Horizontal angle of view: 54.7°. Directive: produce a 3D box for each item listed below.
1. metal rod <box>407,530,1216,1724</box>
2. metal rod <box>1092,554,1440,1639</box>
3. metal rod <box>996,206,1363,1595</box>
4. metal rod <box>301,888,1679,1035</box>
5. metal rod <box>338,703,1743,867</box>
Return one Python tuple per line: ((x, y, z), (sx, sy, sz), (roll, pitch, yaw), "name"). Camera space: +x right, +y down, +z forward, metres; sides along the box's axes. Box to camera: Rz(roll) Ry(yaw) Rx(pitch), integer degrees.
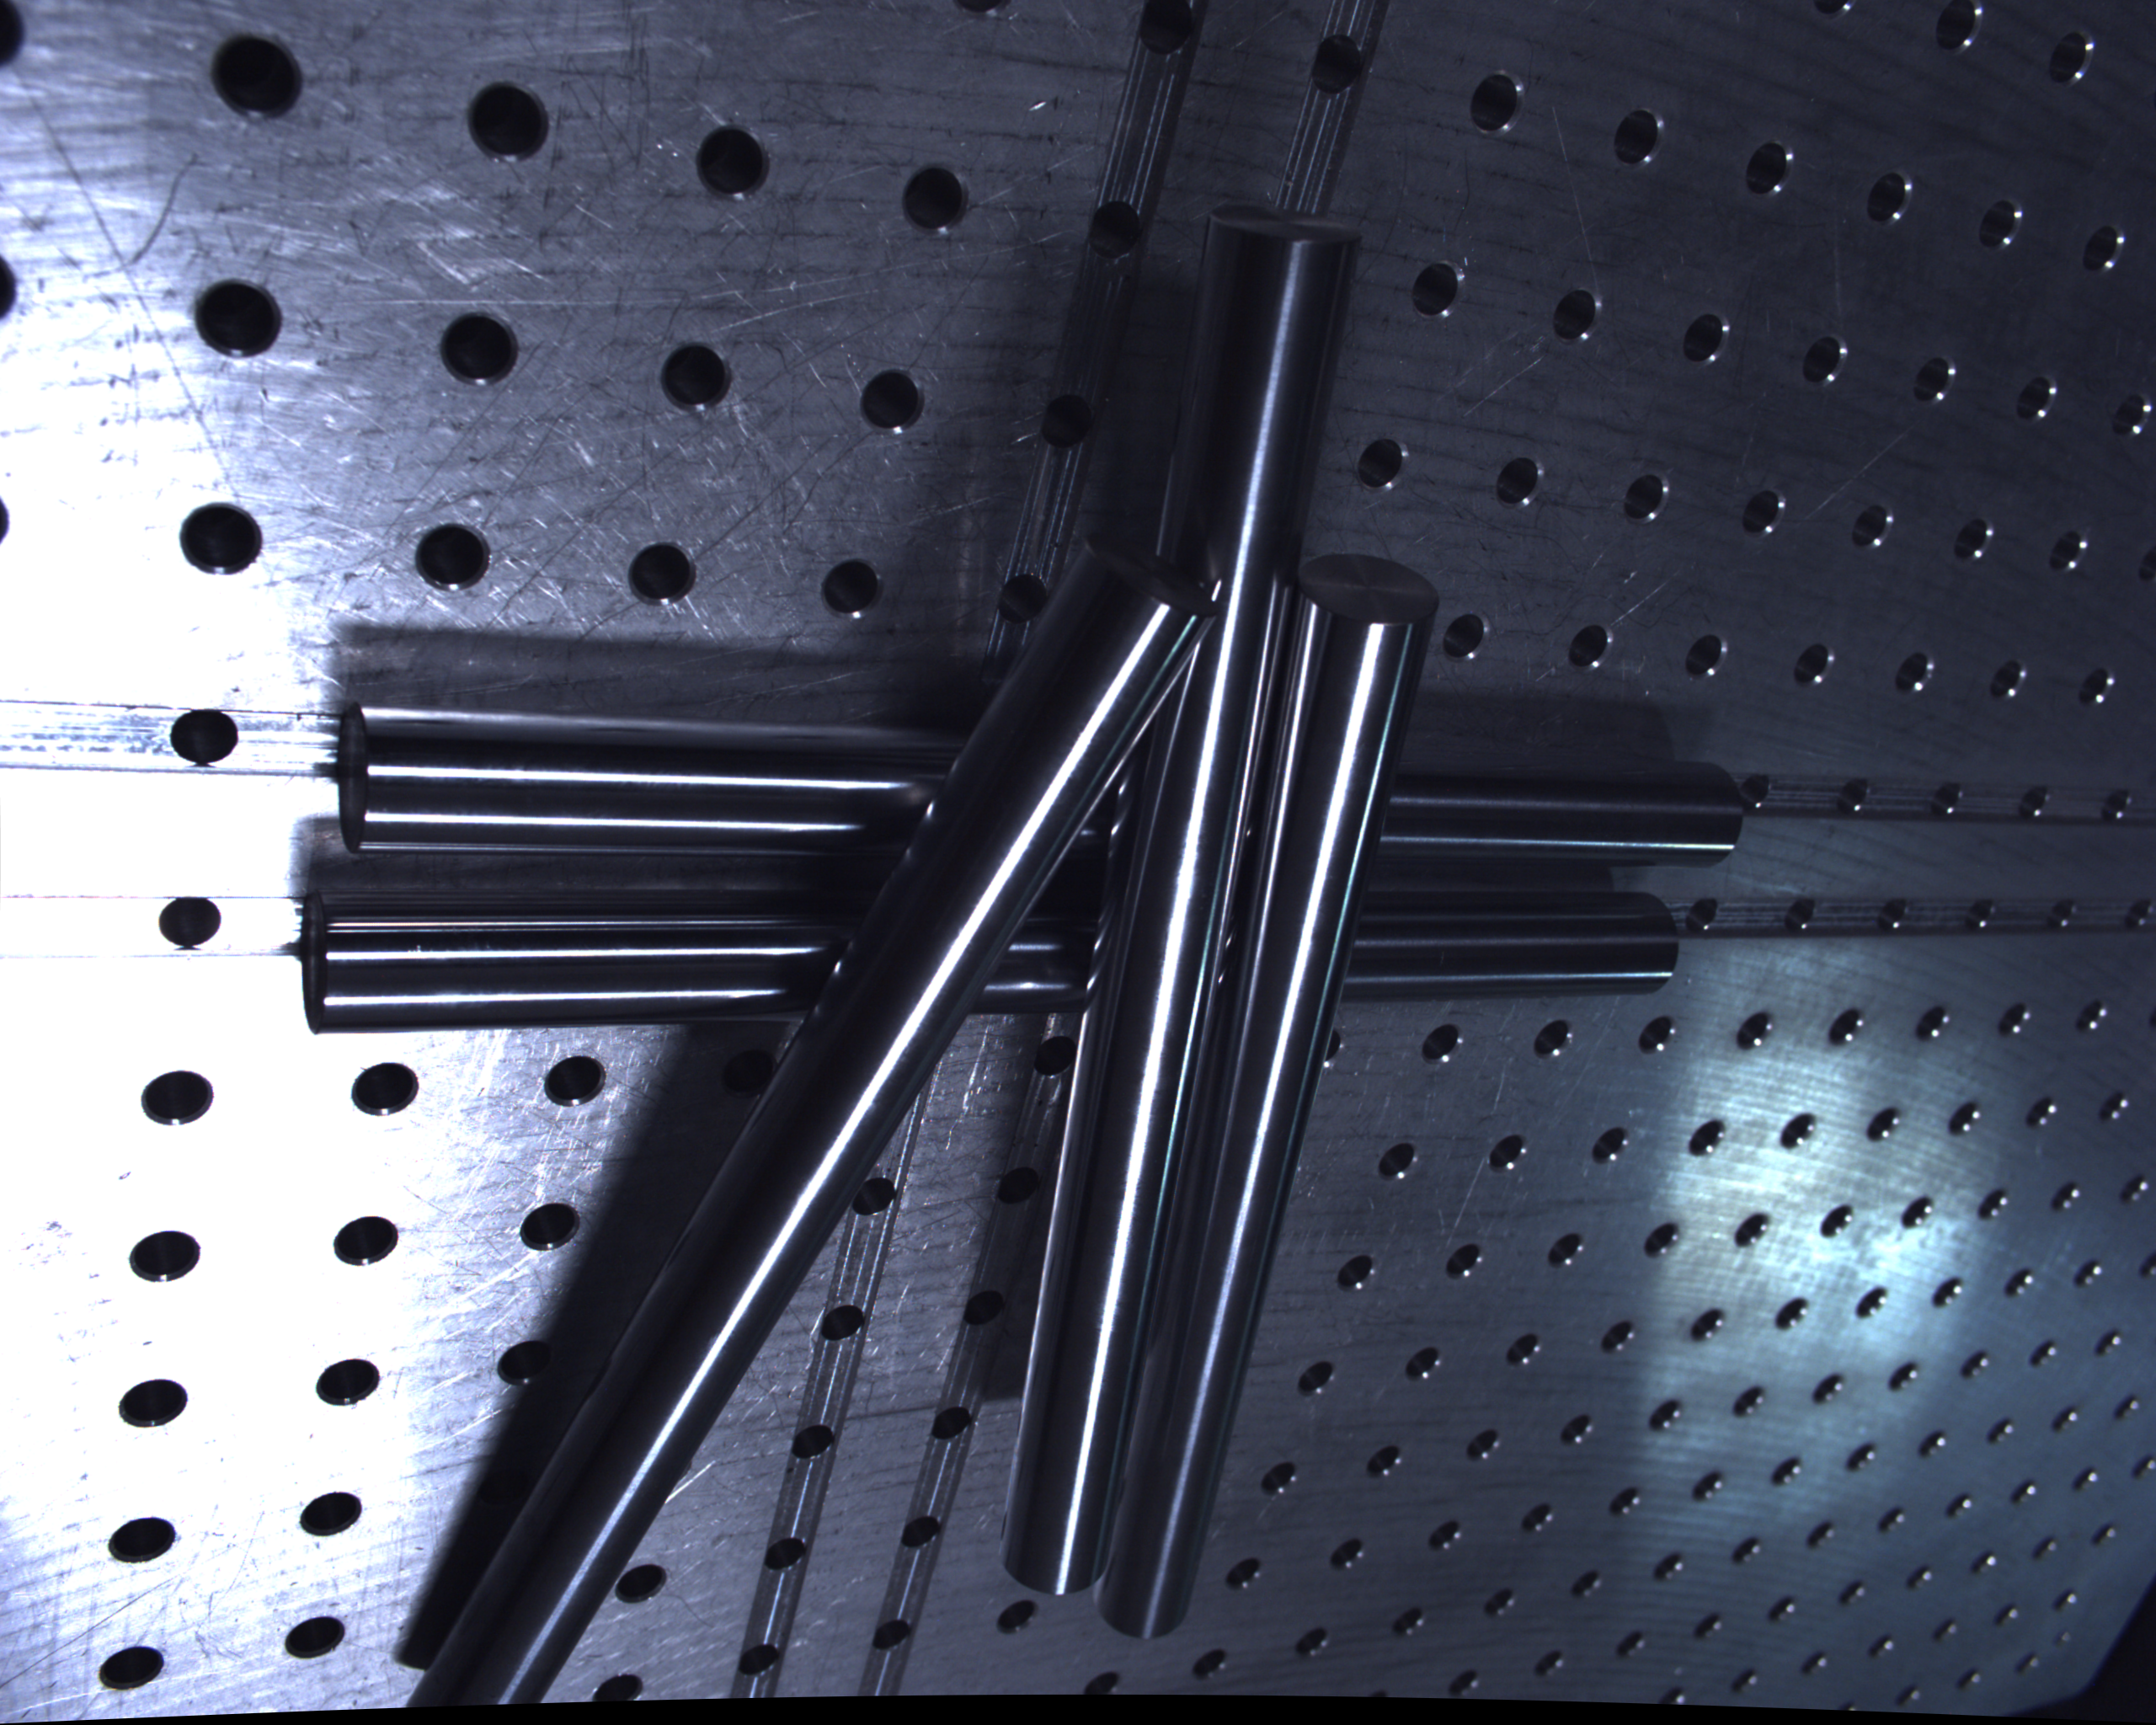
((-0.061, 0.070, 0.398), (0.025, 0.025, 0.298), (15, 117, -35), "metal rod")
((0.033, 0.071, 0.451), (0.025, 0.025, 0.298), (-10, 130, -23), "metal rod")
((0.014, 0.027, 0.405), (0.025, 0.025, 0.298), (-6, 122, -26), "metal rod")
((0.003, 0.018, 0.426), (0.303, 0.025, 0.025), (1, 118, -29), "metal rod")
((0.014, -0.012, 0.413), (0.303, 0.025, 0.025), (1, 118, -29), "metal rod")
